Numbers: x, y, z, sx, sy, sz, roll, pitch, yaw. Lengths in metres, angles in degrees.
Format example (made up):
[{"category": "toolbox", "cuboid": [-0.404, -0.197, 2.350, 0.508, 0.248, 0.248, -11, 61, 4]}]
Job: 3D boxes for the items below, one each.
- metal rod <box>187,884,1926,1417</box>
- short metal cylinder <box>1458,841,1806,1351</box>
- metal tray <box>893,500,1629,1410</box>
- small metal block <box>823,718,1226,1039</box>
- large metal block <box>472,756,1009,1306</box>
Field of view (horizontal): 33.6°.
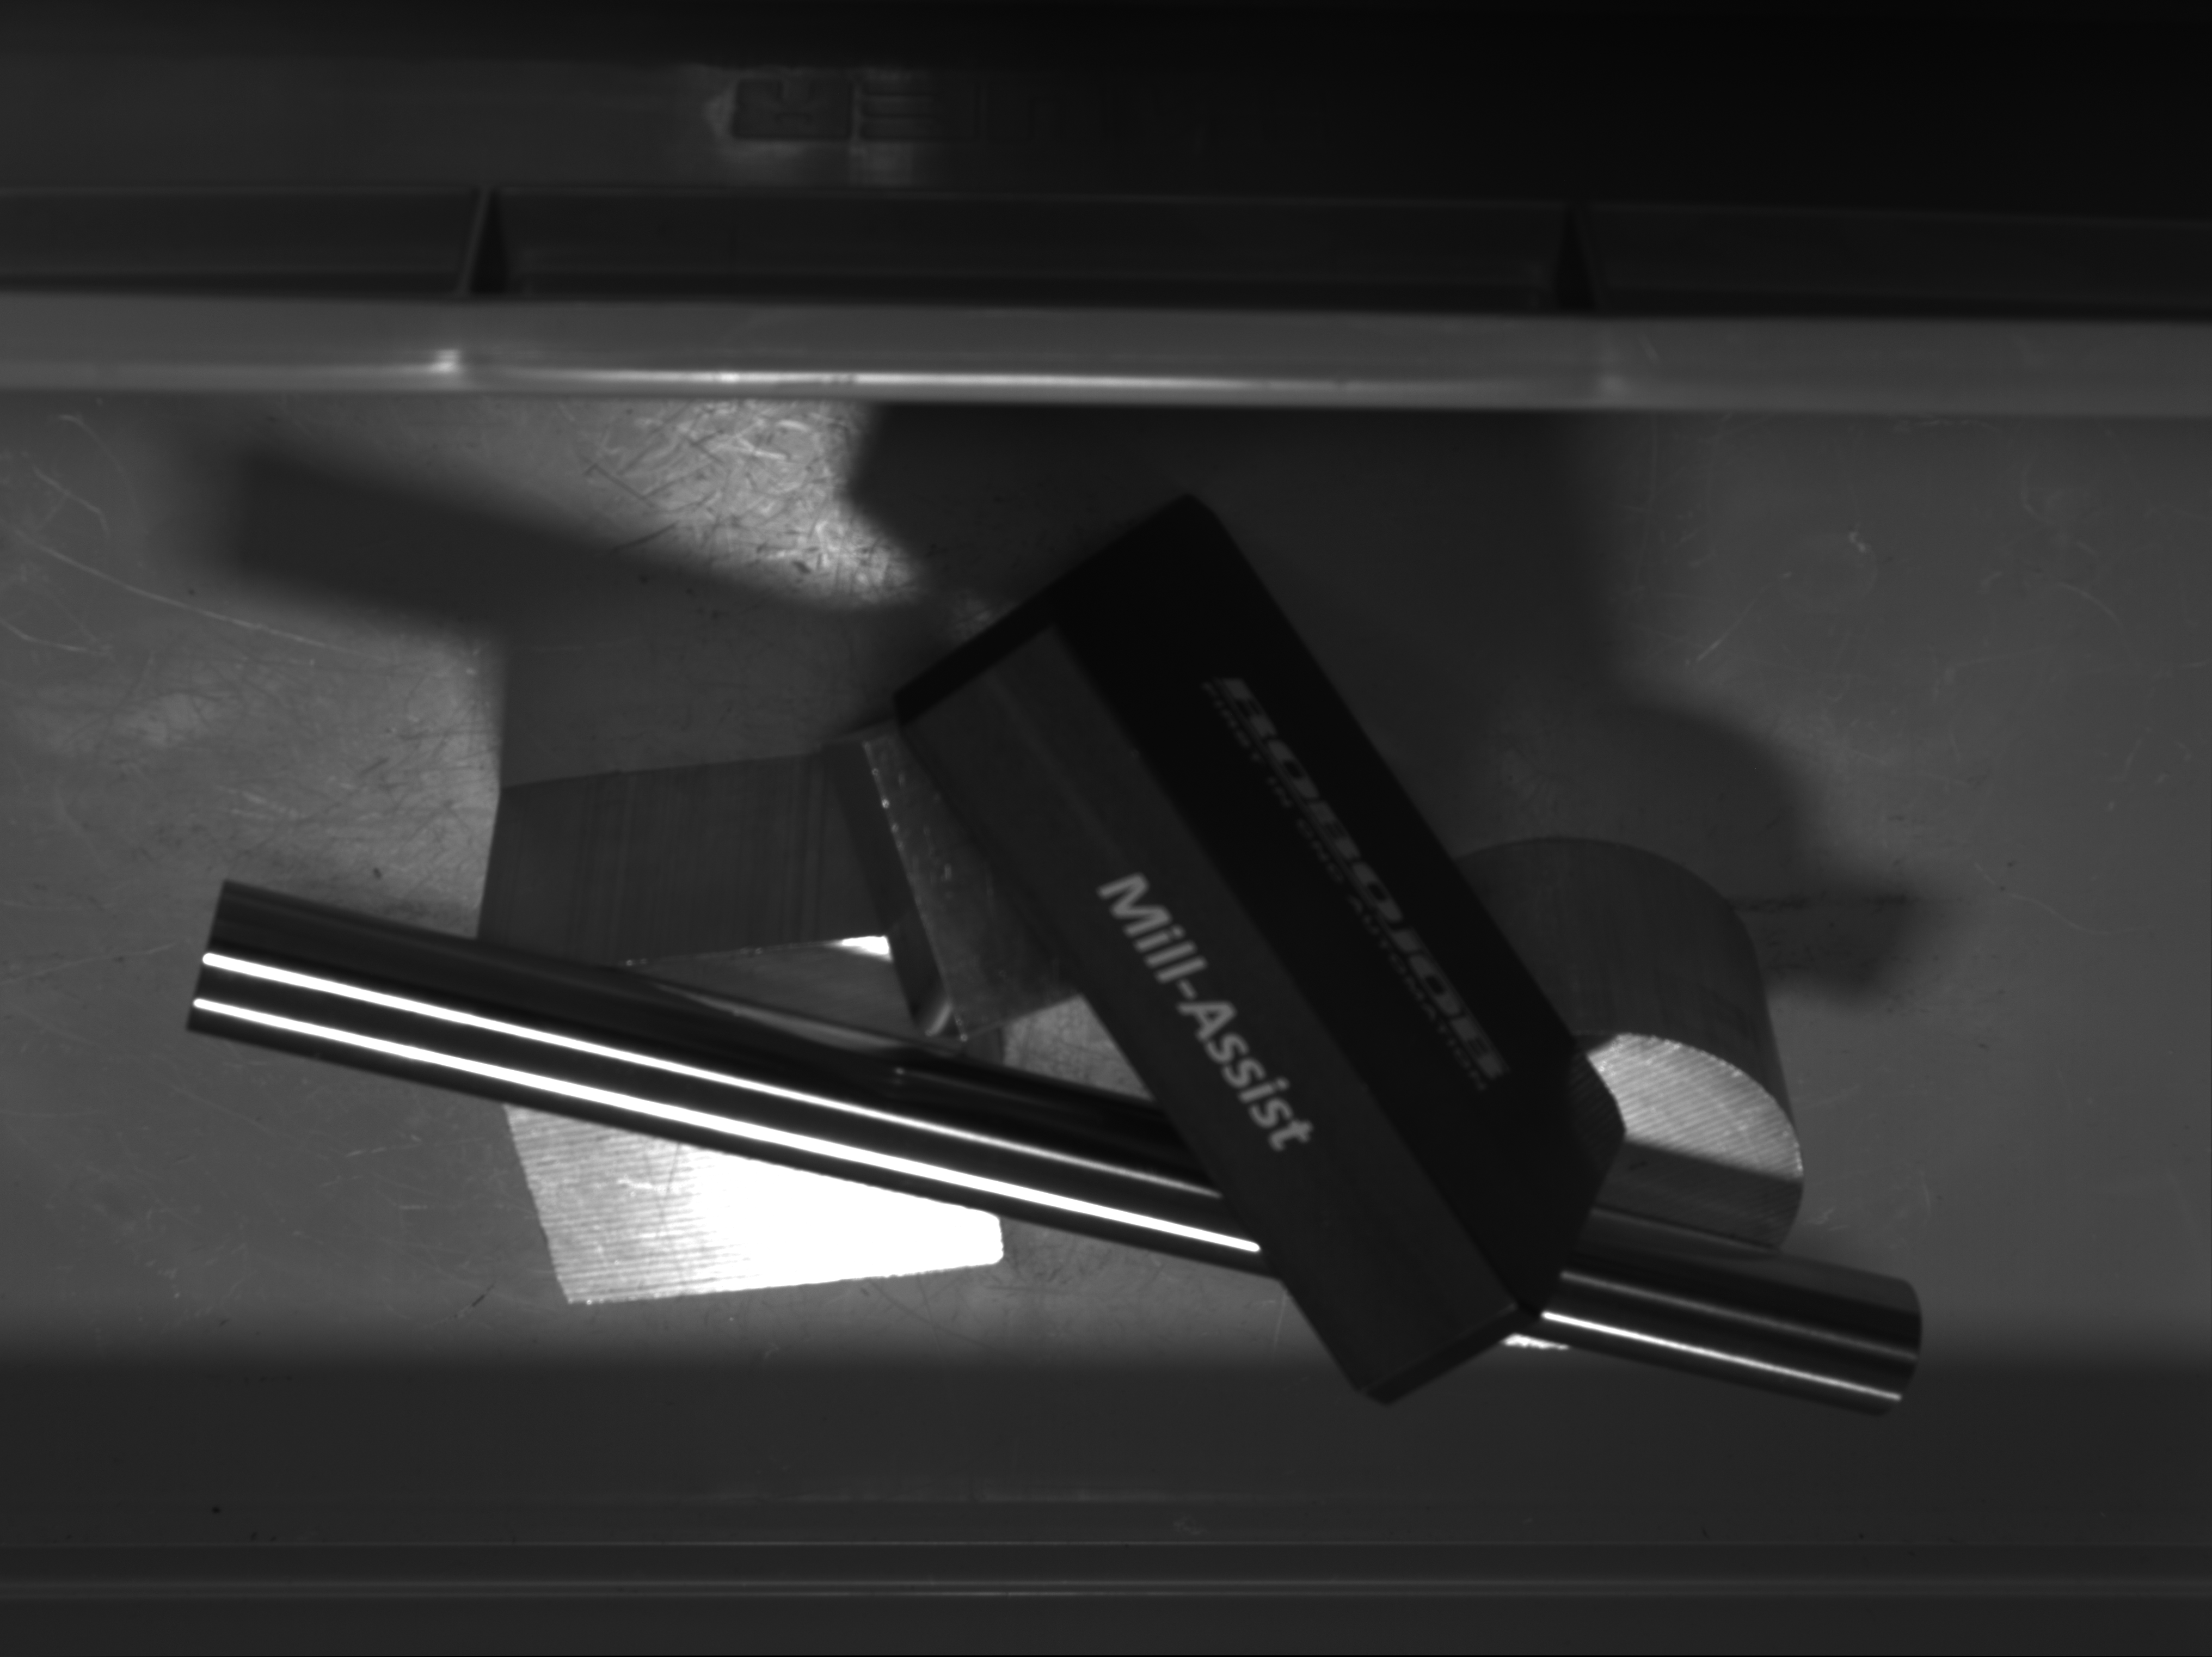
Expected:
[{"category": "metal rod", "cuboid": [-0.002, 0.057, 0.618, 0.300, 0.025, 0.025, 14, 128, -13]}, {"category": "short metal cylinder", "cuboid": [0.083, 0.049, 0.664, 0.080, 0.050, 0.080, -1, 130, -1]}, {"category": "metal tray", "cuboid": [0.028, 0.016, 0.577, 0.030, 0.090, 0.130, -33, 94, 23]}, {"category": "small metal block", "cuboid": [-0.012, 0.001, 0.594, 0.050, 0.025, 0.050, -20, 97, -19]}, {"category": "large metal block", "cuboid": [-0.062, 0.035, 0.649, 0.080, 0.050, 0.080, -6, 130, 3]}]
